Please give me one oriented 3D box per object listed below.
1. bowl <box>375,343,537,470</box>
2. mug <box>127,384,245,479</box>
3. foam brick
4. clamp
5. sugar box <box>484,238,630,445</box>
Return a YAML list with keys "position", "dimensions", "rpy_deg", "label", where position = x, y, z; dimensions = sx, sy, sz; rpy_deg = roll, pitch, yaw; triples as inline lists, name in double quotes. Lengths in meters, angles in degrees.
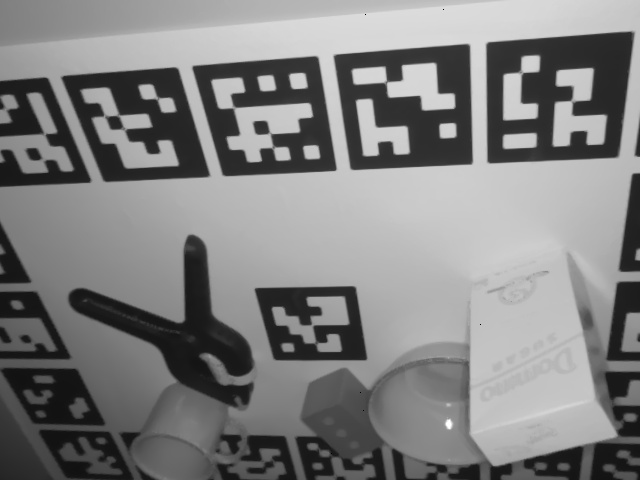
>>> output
- position: [0.137, 0.156, 0.692]
  dimensions: [0.161, 0.056, 0.160]
  rpy_deg: [4, 123, 8]
  label: "bowl"
- position: [-0.138, 0.217, 0.757]
  dimensions: [0.117, 0.082, 0.092]
  rpy_deg: [21, 124, 0]
  label: "mug"
- position: [0.028, 0.178, 0.733]
  dimensions: [0.052, 0.052, 0.078]
  rpy_deg: [-28, 113, 23]
  label: "foam brick"
- position: [-0.121, 0.099, 0.701]
  dimensions: [0.163, 0.037, 0.203]
  rpy_deg: [-24, 115, 20]
  label: "clamp"
- position: [0.182, 0.075, 0.560]
  dimensions: [0.092, 0.178, 0.045]
  rpy_deg: [-24, 113, 25]
  label: "sugar box"
